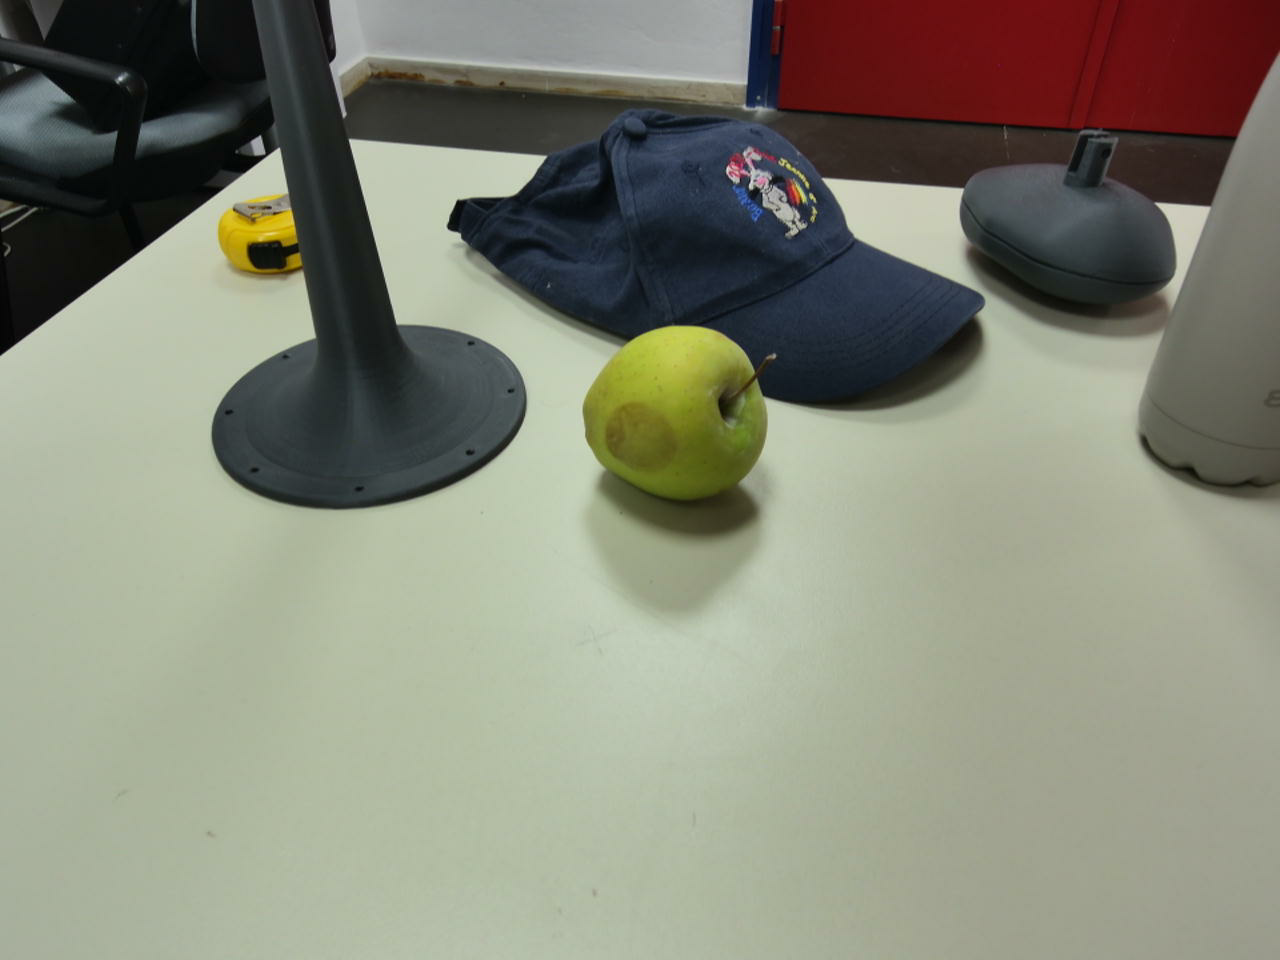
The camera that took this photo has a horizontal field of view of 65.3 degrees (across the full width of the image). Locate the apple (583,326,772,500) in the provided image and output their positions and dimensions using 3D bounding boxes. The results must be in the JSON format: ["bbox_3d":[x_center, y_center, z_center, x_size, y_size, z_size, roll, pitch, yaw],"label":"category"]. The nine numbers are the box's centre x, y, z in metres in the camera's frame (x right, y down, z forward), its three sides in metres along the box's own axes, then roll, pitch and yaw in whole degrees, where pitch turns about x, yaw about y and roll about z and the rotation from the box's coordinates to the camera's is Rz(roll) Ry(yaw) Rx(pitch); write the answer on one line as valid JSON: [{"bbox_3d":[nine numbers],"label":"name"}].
[{"bbox_3d":[0.016,-0.030,0.428,0.072,0.075,0.077,-21,43,-25],"label":"apple"}]
